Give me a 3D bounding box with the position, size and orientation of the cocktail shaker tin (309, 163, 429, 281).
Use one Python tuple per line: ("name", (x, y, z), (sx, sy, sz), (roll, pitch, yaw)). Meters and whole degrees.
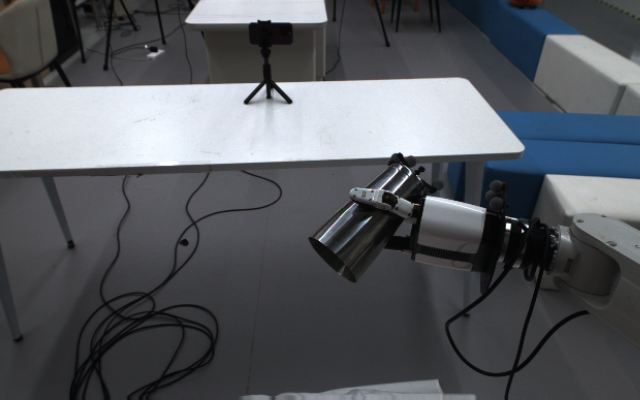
("cocktail shaker tin", (0.075, 0.022, 0.704), (0.170, 0.093, 0.093), (-44, 50, -14))
